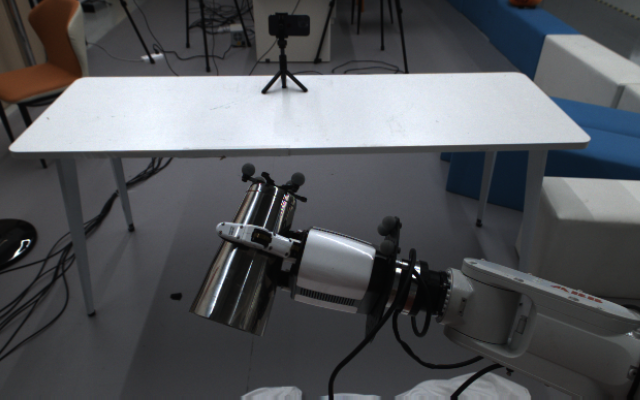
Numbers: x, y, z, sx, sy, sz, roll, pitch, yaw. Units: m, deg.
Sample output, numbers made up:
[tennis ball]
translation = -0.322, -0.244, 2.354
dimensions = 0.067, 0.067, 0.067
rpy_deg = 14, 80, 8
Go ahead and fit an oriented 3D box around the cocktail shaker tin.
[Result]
[cocktail shaker tin]
translation = -0.087, 0.068, 0.590
dimensions = 0.093, 0.093, 0.170
rpy_deg = 13, 70, 15
